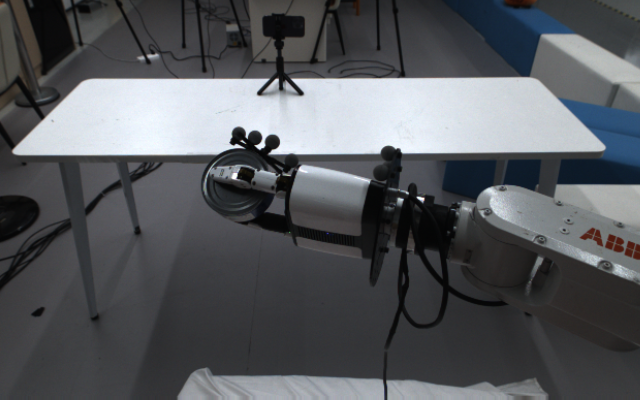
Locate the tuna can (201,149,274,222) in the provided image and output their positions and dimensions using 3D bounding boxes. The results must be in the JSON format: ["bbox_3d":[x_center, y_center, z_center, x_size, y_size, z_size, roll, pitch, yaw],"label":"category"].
[{"bbox_3d":[-0.097,-0.017,0.592,0.085,0.034,0.085,-2,71,6],"label":"tuna can"}]
